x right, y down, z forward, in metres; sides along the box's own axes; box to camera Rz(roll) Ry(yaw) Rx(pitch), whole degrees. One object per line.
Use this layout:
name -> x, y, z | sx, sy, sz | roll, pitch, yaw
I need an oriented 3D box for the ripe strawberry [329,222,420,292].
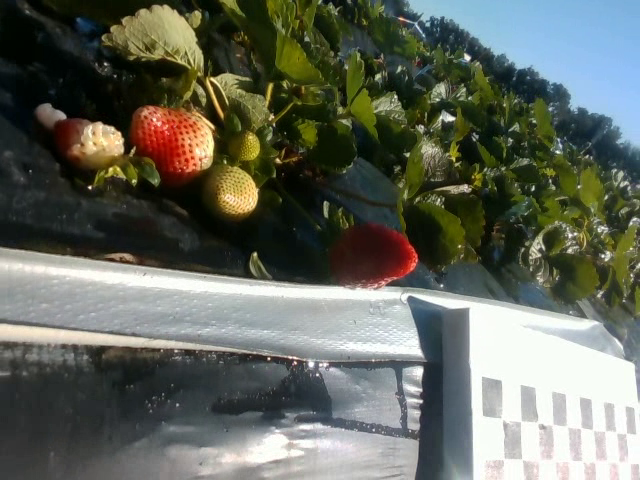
ripe strawberry -> 0.024, 0.008, 0.258 | 0.036, 0.038, 0.045 | 16, -7, -38
